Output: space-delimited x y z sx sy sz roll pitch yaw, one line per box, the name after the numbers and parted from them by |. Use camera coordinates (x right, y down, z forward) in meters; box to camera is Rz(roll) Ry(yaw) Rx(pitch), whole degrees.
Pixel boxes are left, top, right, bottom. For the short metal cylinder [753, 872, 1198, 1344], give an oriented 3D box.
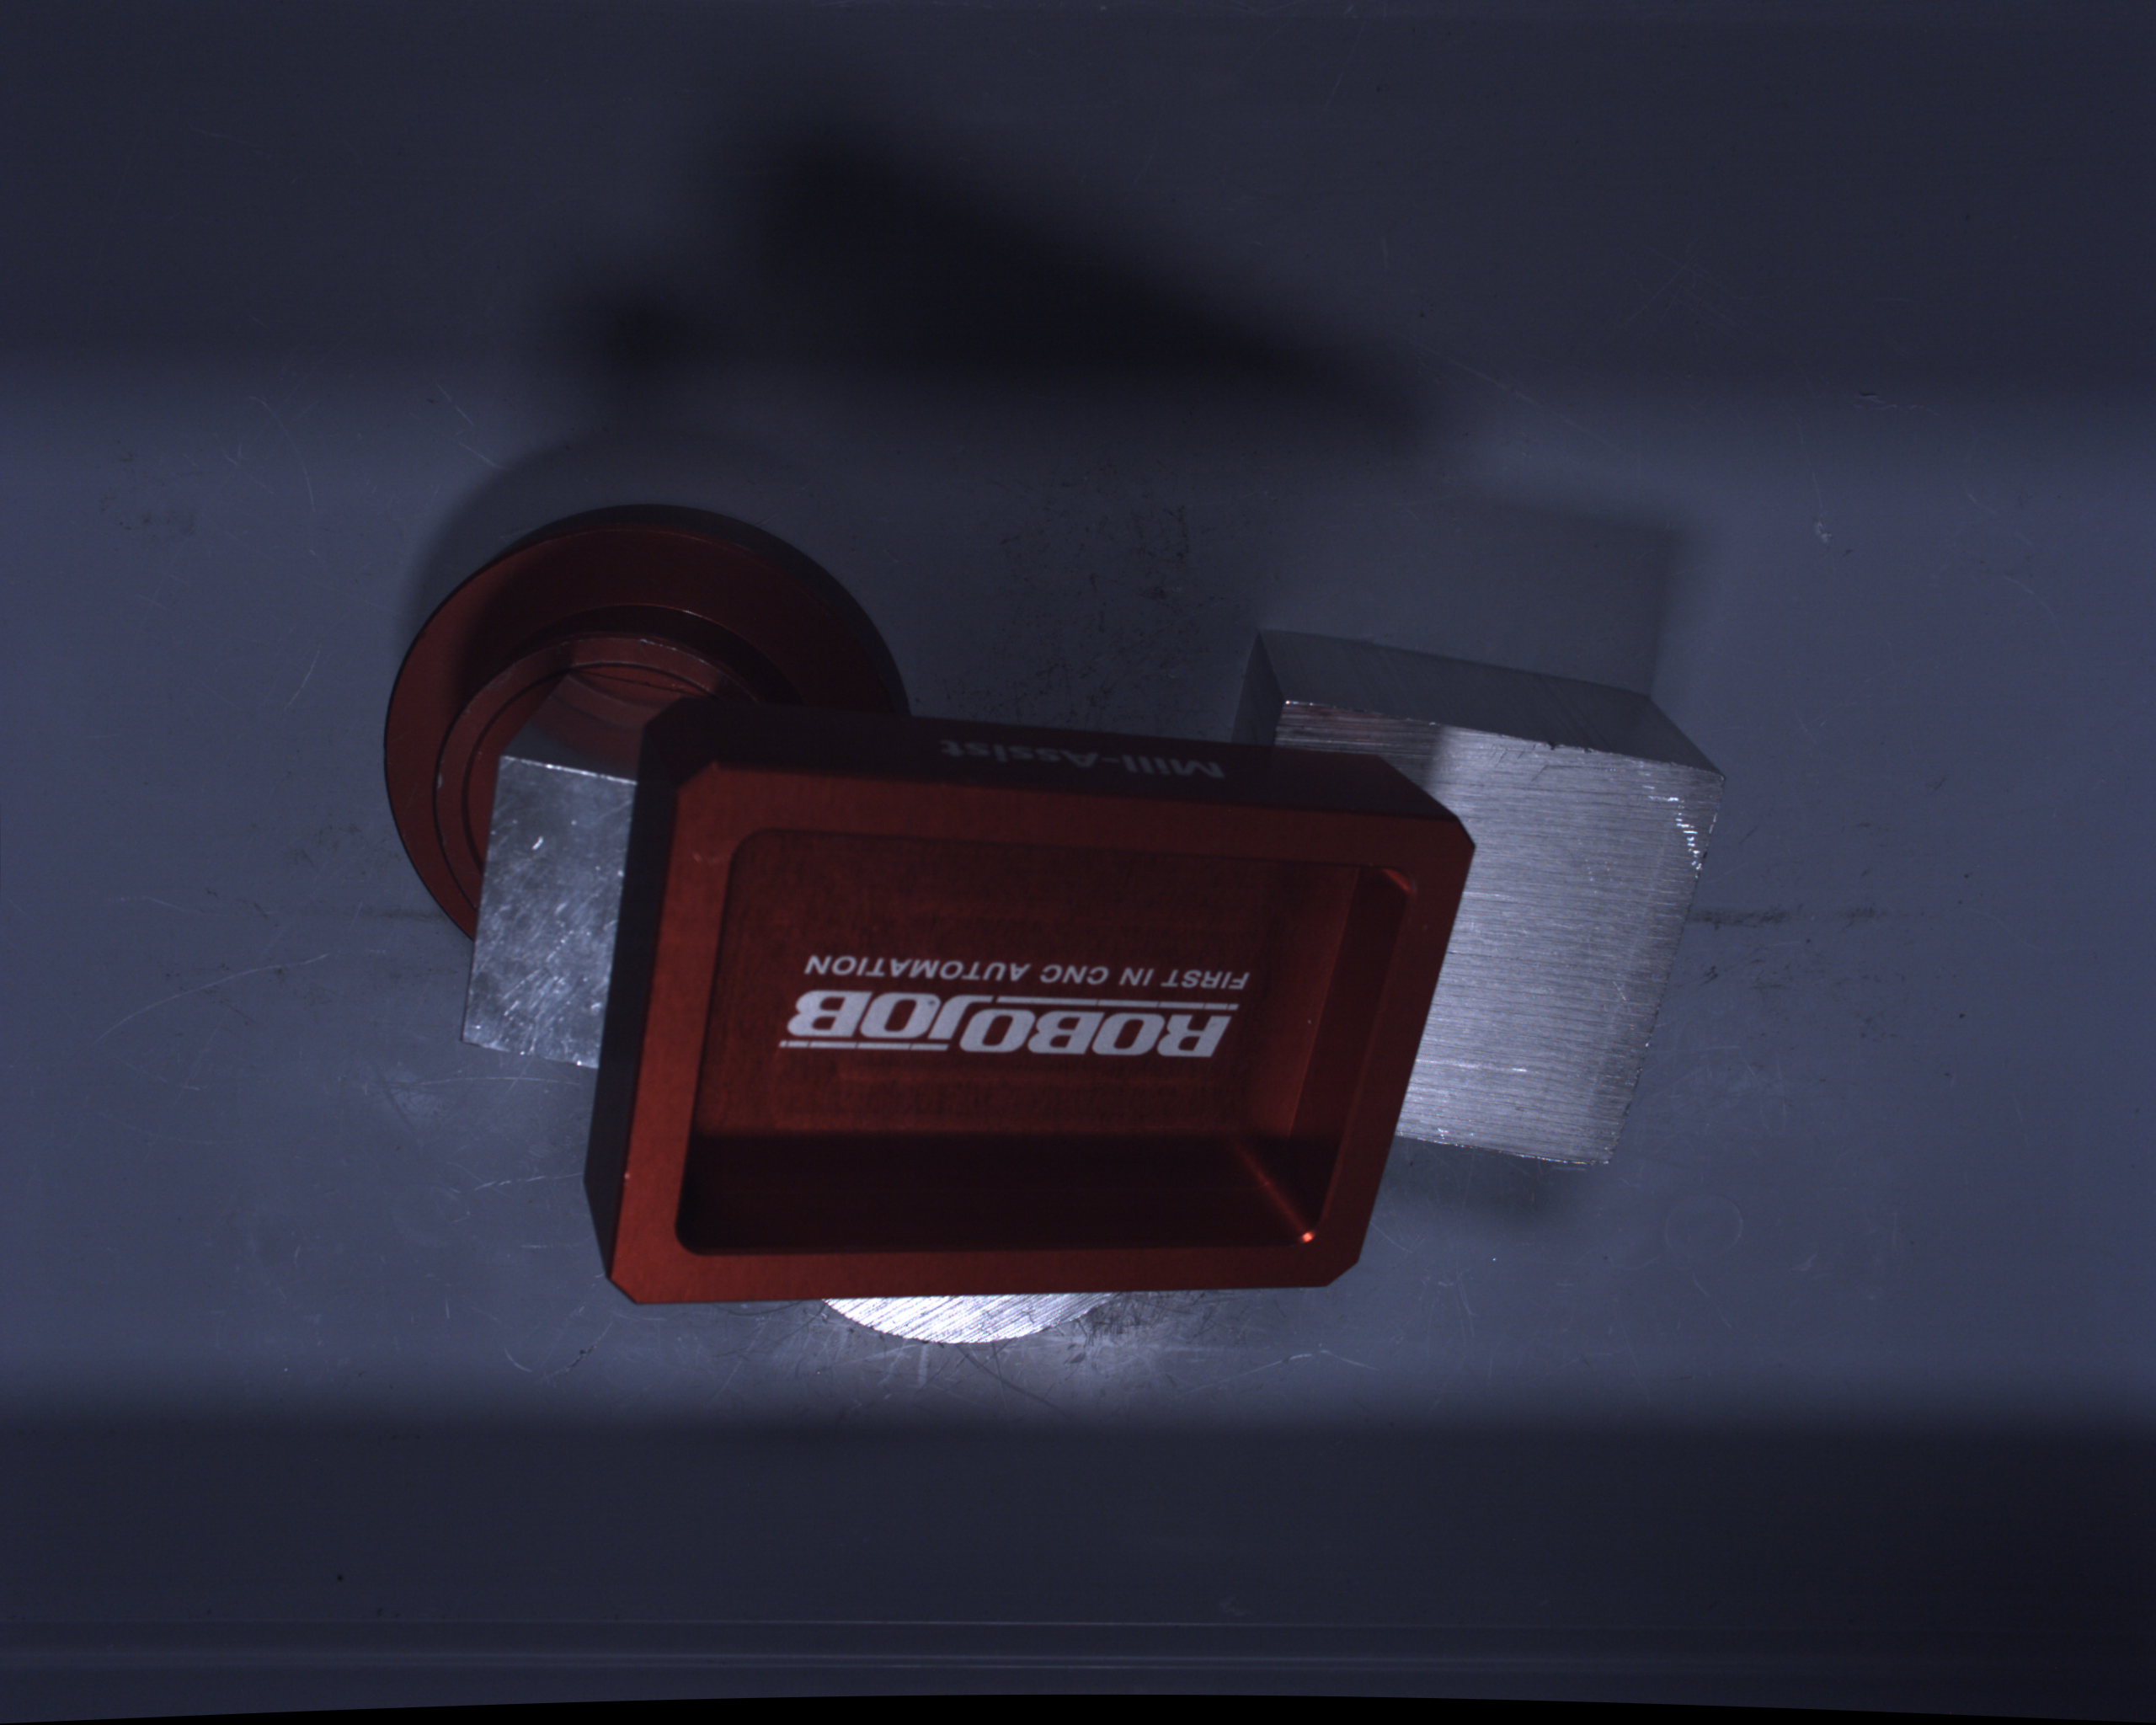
-0.021 0.046 0.400 0.081 0.050 0.079 -7 124 -10 | short metal cylinder

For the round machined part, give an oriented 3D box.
-0.081 -0.015 0.394 0.099 0.042 0.097 0 110 -1 | round machined part

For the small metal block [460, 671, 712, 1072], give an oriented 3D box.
-0.082 0.001 0.350 0.025 0.050 0.050 12 110 -5 | small metal block

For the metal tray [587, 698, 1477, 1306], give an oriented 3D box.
-0.008 0.025 0.341 0.131 0.030 0.089 3 112 -22 | metal tray

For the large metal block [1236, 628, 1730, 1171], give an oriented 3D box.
0.067 0.006 0.398 0.081 0.050 0.079 9 110 -4 | large metal block
